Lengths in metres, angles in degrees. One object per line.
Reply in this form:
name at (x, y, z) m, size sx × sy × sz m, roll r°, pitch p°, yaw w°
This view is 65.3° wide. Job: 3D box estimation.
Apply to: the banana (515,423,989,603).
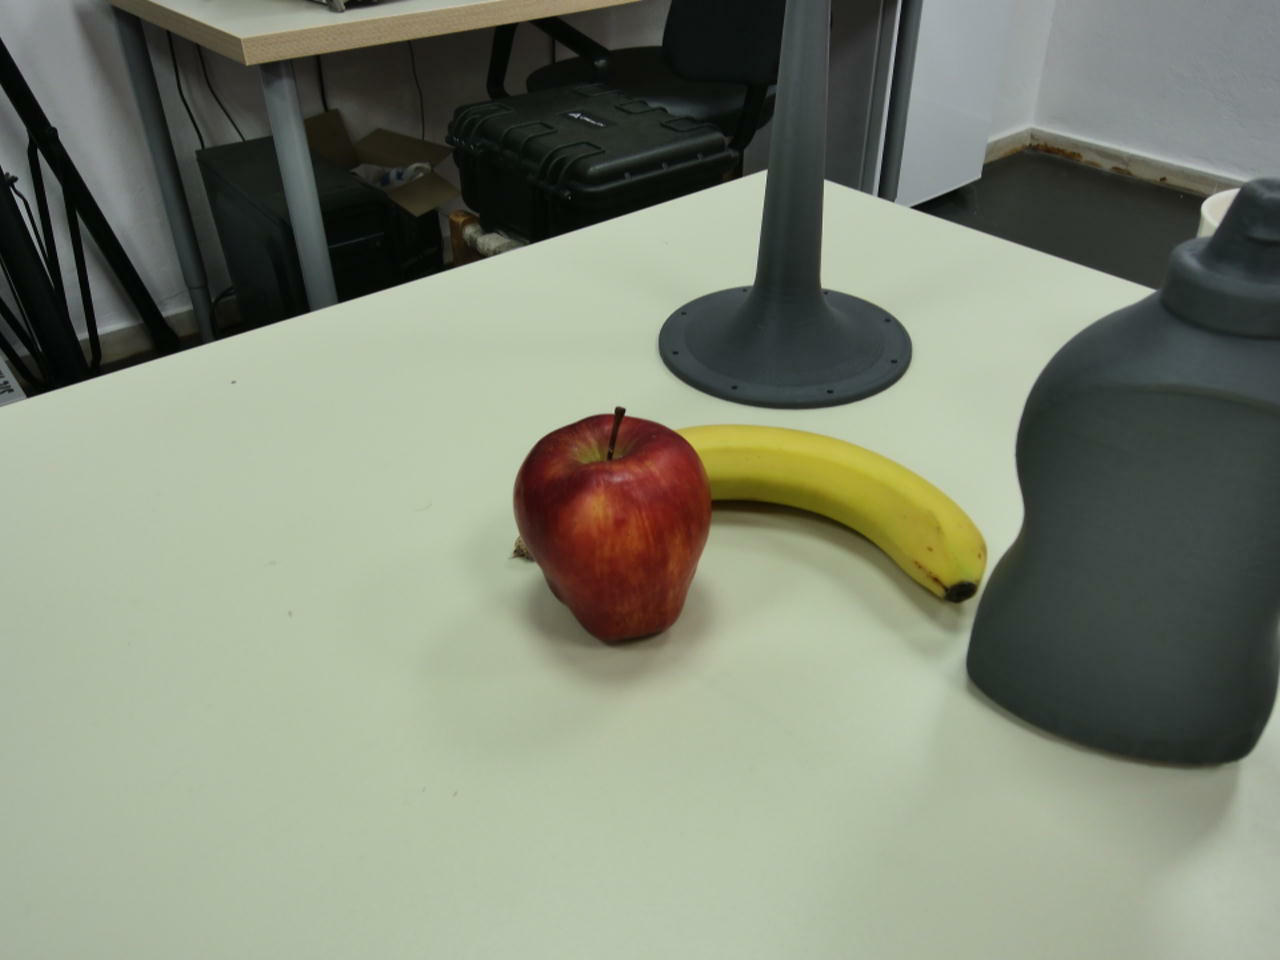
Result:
banana at (0.050, 0.008, 0.447) m, size 0.196 × 0.041 × 0.094 m, roll 9°, pitch 36°, yaw 14°
